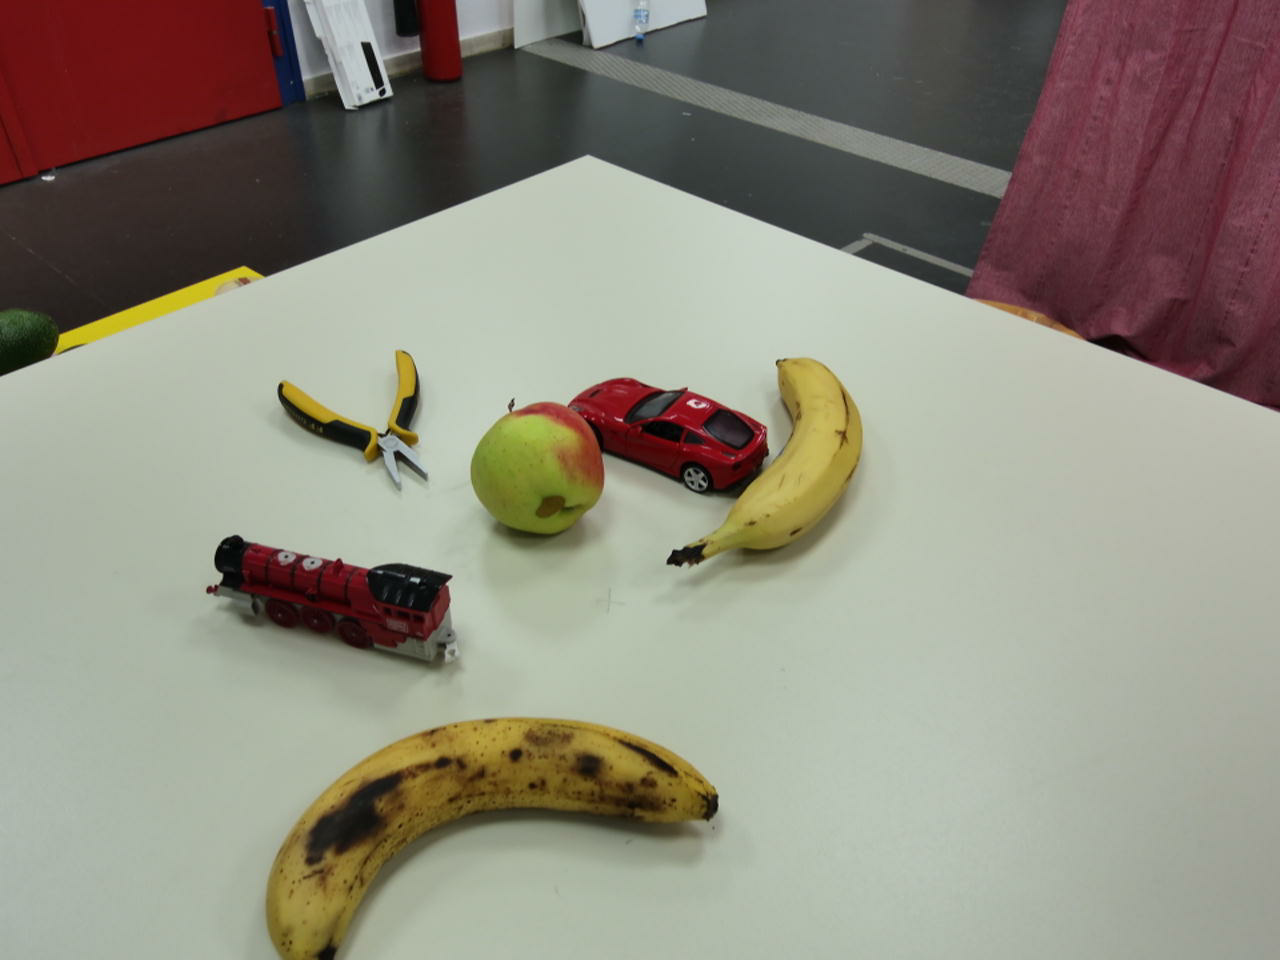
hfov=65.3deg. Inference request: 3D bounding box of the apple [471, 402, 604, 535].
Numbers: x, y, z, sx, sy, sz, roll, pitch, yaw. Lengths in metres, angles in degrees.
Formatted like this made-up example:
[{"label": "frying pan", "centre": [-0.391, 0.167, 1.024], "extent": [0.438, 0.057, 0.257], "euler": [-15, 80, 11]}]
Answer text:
[{"label": "apple", "centre": [-0.057, -0.007, 0.576], "extent": [0.075, 0.074, 0.075], "euler": [15, 39, 17]}]
